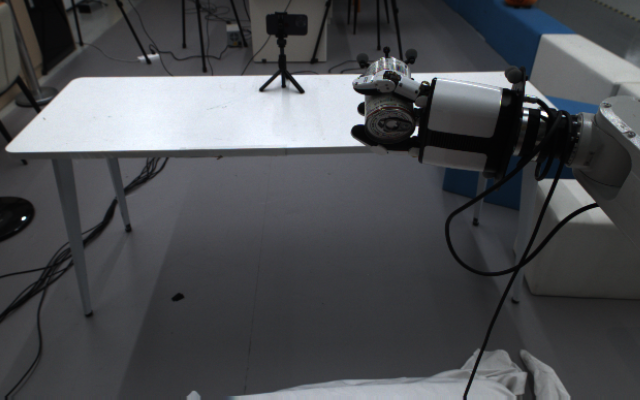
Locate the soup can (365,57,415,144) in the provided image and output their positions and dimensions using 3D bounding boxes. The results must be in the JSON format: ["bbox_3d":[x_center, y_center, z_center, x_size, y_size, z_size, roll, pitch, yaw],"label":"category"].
[{"bbox_3d":[0.095,-0.138,0.663,0.067,0.067,0.101,3,57,1],"label":"soup can"}]
